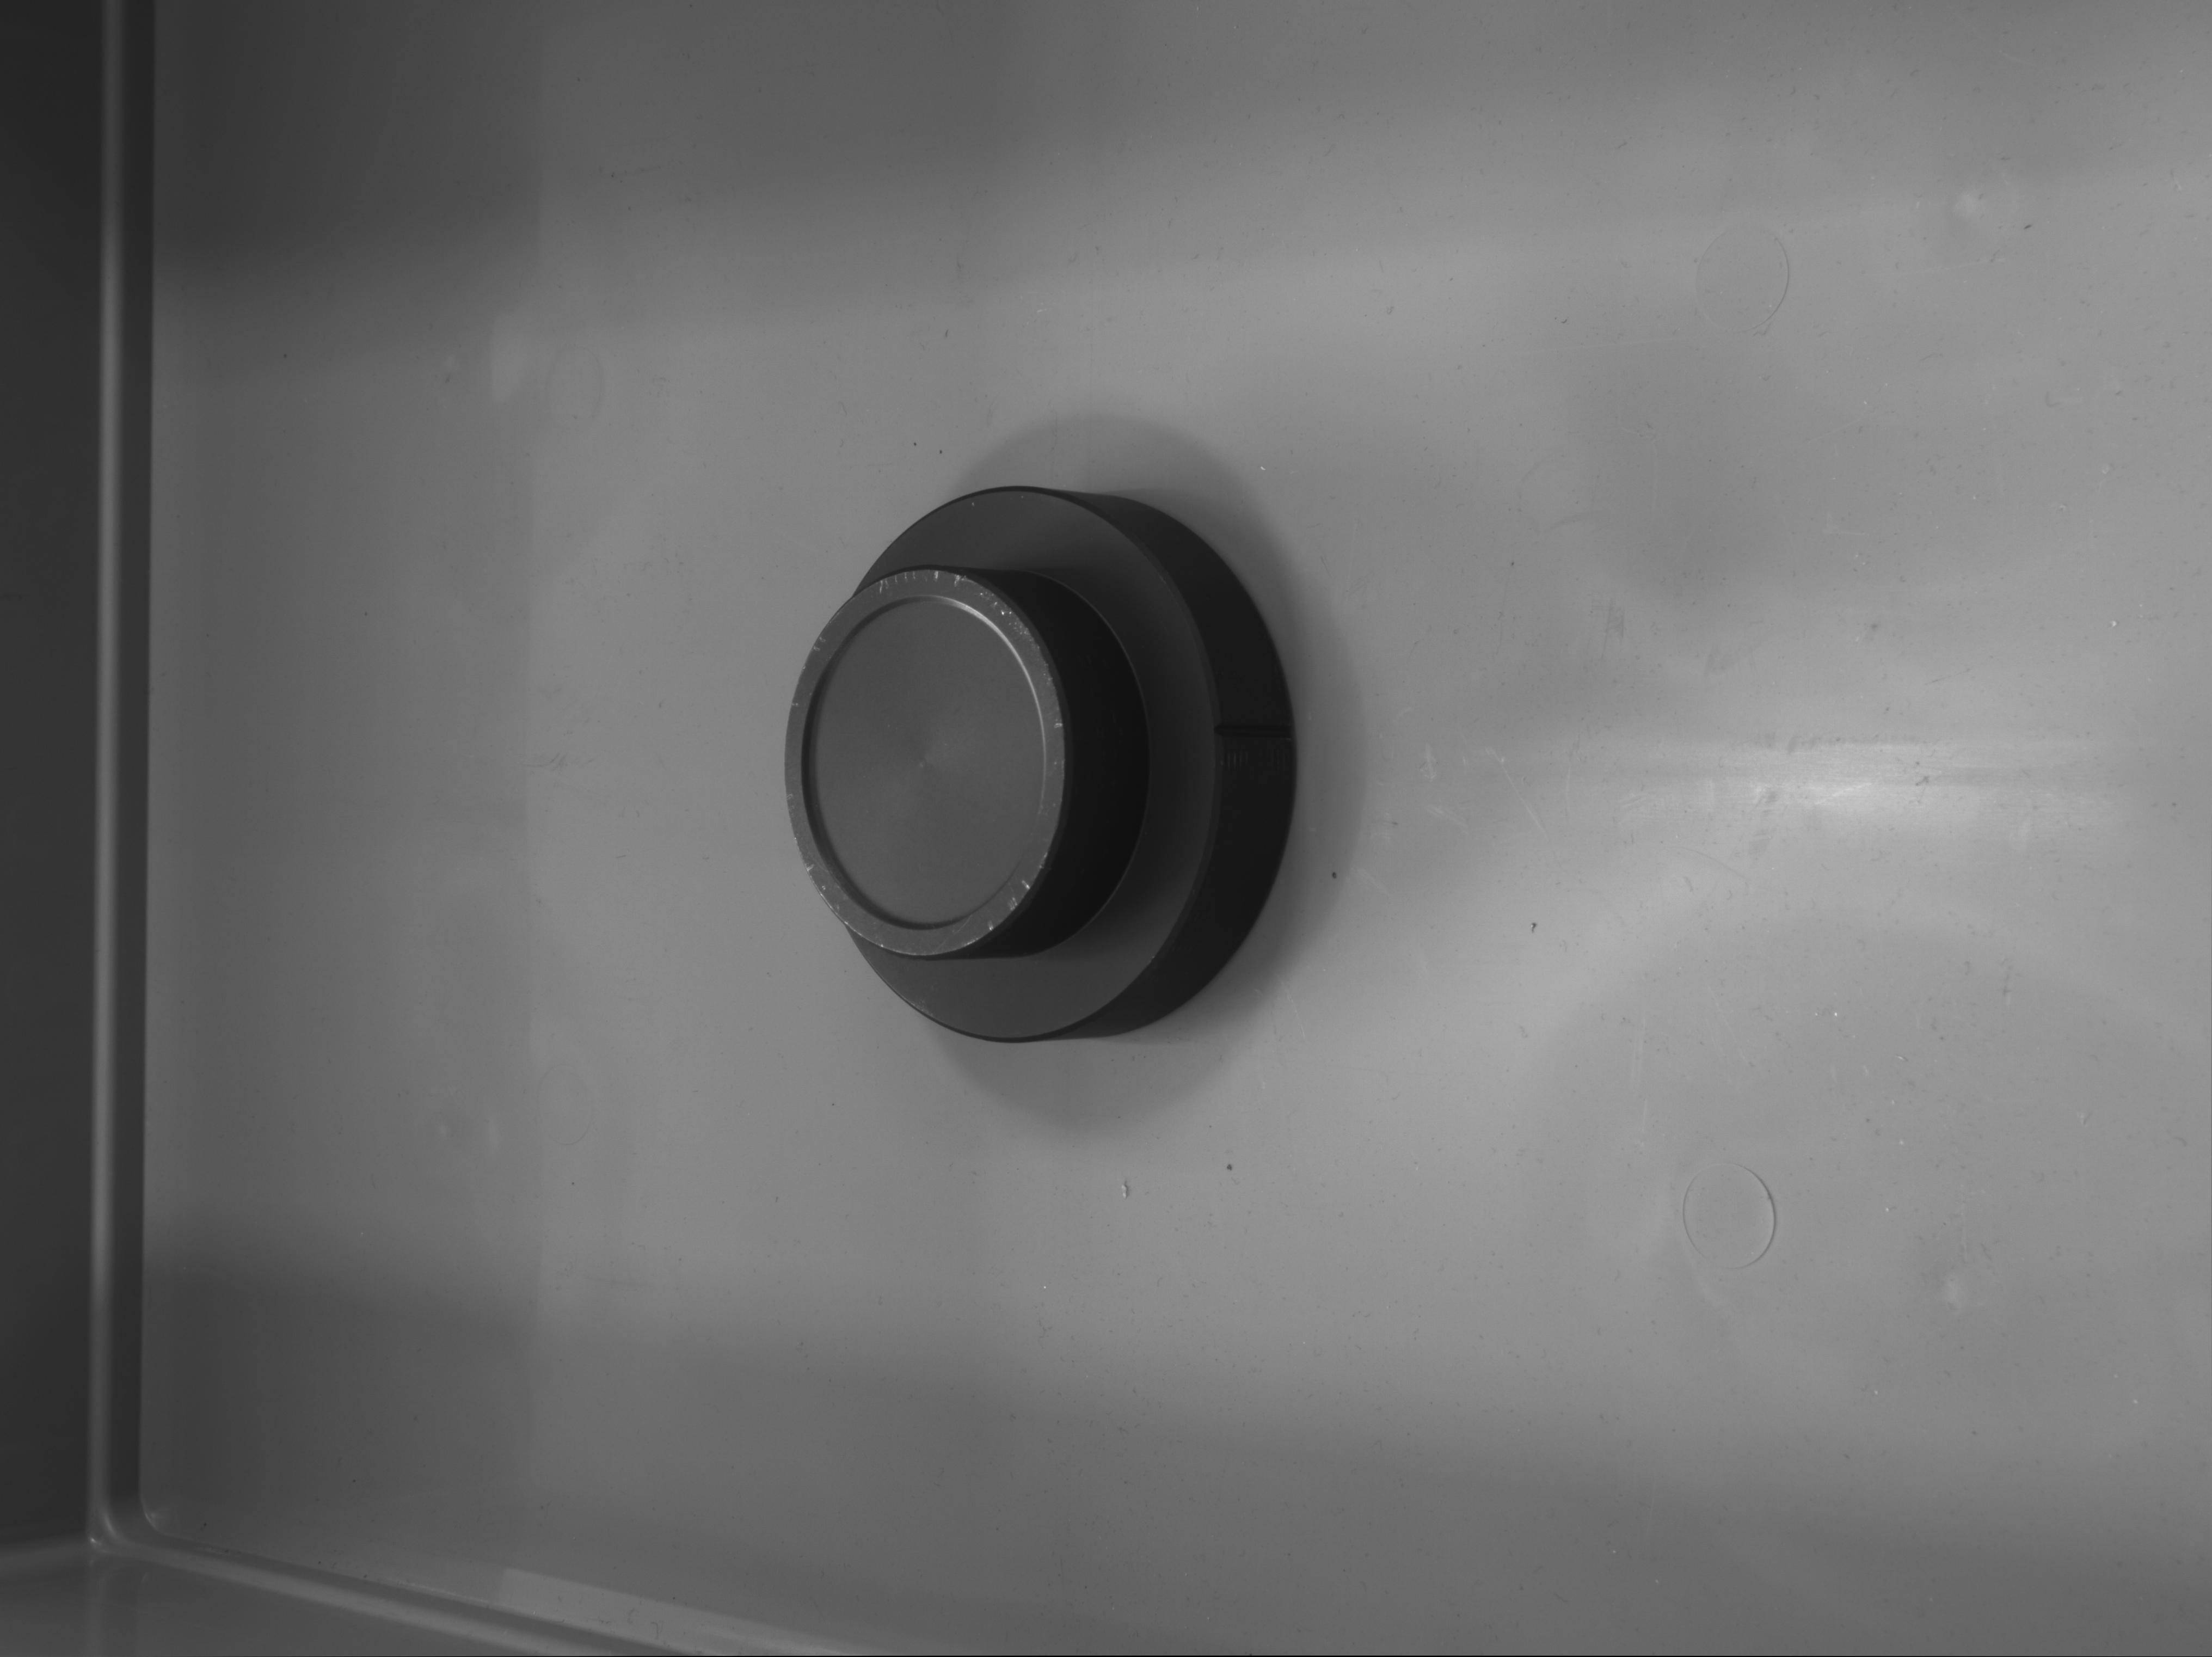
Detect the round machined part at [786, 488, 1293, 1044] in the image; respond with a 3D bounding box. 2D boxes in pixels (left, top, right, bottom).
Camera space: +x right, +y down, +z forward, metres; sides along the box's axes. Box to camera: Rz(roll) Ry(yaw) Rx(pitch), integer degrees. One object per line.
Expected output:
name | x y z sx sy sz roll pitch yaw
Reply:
round machined part | -0.018 -0.011 0.647 0.098 0.042 0.098 0 90 40
